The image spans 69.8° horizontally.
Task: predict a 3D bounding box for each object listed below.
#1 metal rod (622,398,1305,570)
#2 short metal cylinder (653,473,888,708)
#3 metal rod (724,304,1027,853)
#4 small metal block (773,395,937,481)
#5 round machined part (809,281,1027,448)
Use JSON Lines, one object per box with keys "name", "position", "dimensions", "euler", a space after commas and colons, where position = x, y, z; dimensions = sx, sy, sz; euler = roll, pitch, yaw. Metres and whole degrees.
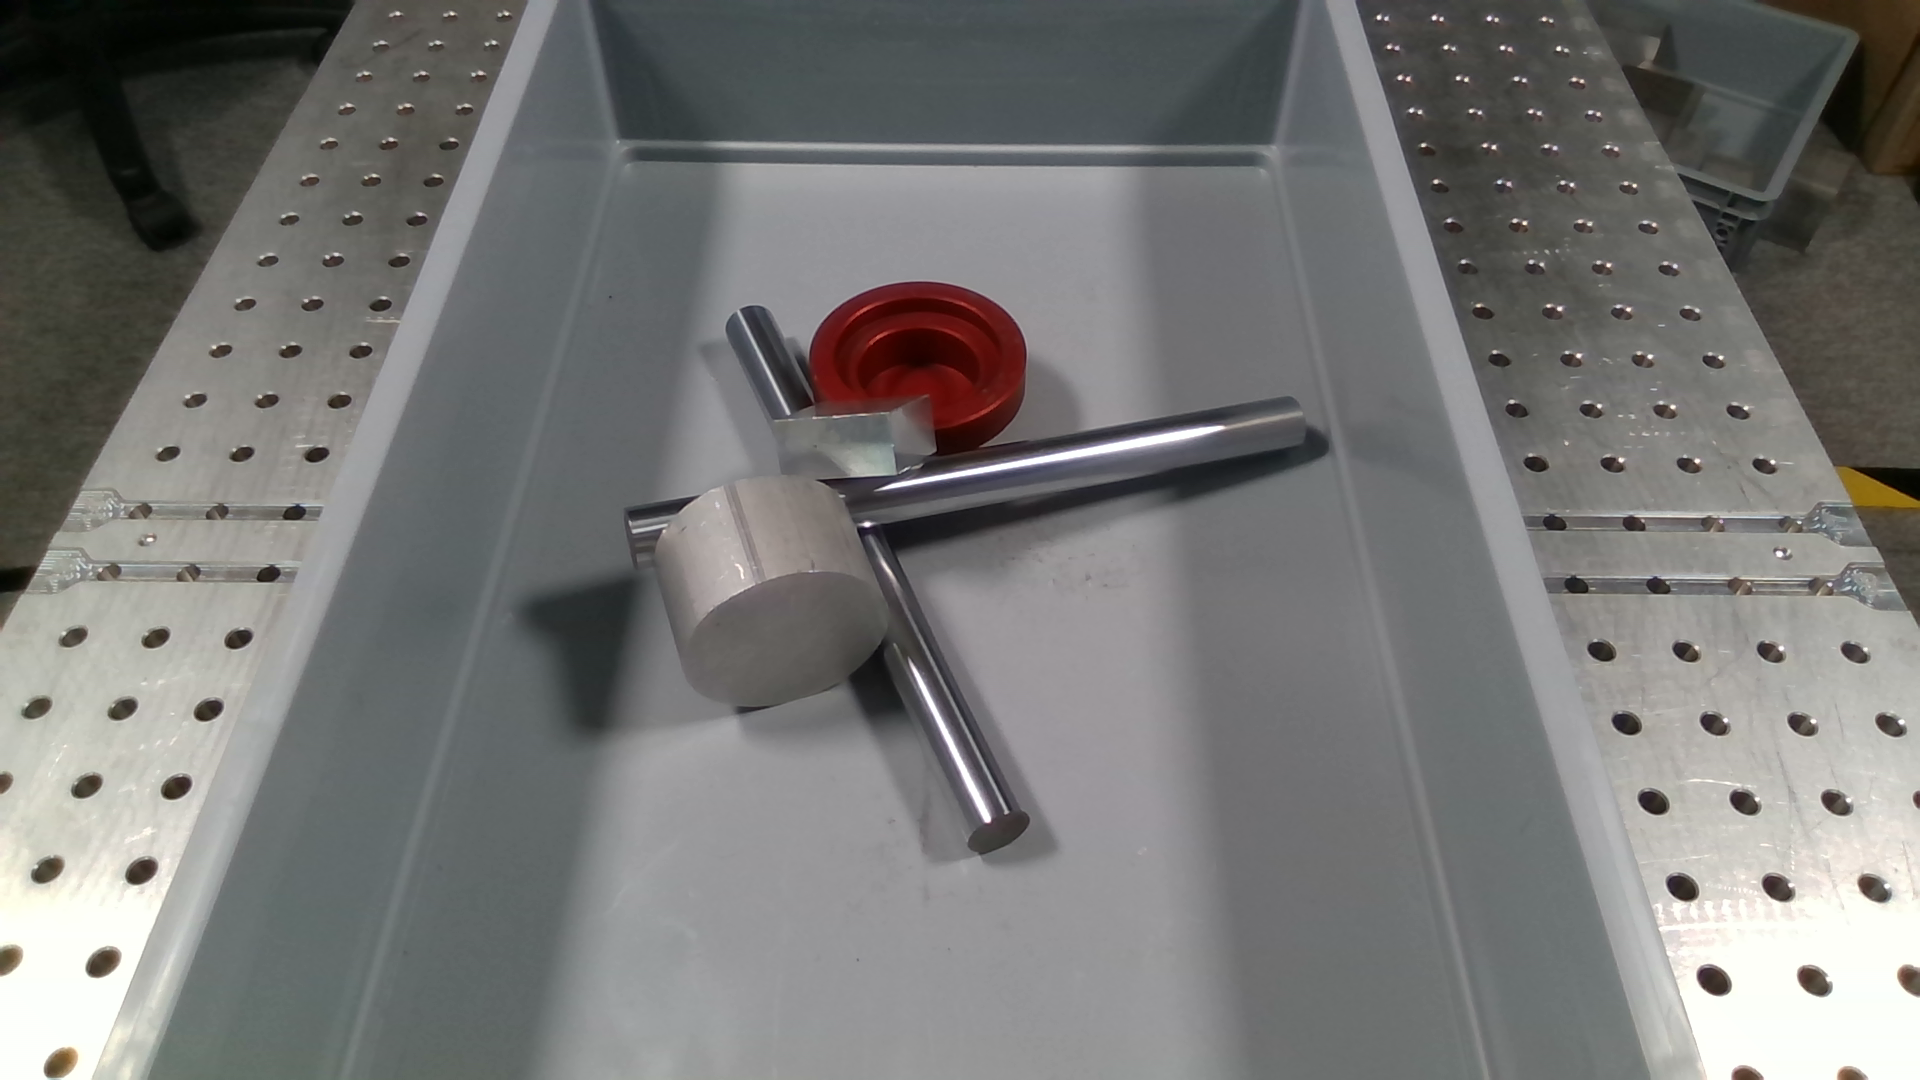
{"name": "metal rod", "position": [0.011, -0.027, 0.585], "dimensions": [0.300, 0.025, 0.025], "euler": [-11, 51, -18]}
{"name": "short metal cylinder", "position": [-0.074, 0.020, 0.533], "dimensions": [0.080, 0.080, 0.050], "euler": [-15, 52, -12]}
{"name": "metal rod", "position": [-0.045, 0.000, 0.586], "dimensions": [0.025, 0.025, 0.299], "euler": [-18, 52, -14]}
{"name": "small metal block", "position": [-0.042, -0.042, 0.567], "dimensions": [0.050, 0.025, 0.050], "euler": [-2, 14, 19]}
{"name": "round machined part", "position": [-0.019, -0.072, 0.635], "dimensions": [0.098, 0.042, 0.098], "euler": [0, 50, 0]}
